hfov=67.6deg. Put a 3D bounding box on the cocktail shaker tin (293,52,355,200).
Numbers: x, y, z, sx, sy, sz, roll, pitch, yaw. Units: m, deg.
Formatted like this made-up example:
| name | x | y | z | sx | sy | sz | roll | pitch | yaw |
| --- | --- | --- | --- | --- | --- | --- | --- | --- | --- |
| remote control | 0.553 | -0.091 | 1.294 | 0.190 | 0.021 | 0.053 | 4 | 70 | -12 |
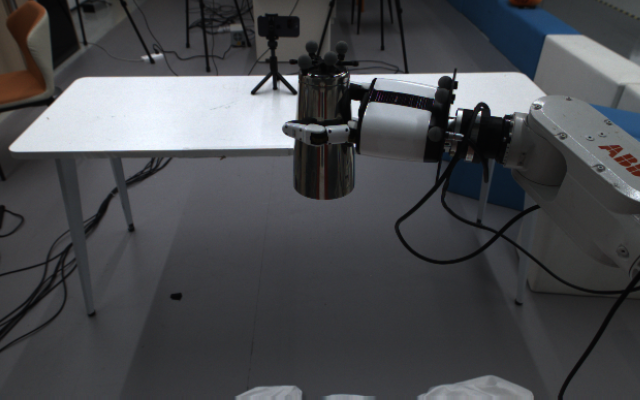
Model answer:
| name | x | y | z | sx | sy | sz | roll | pitch | yaw |
| --- | --- | --- | --- | --- | --- | --- | --- | --- | --- |
| cocktail shaker tin | 0.007 | -0.098 | 0.667 | 0.093 | 0.170 | 0.093 | 0 | 33 | 0 |
